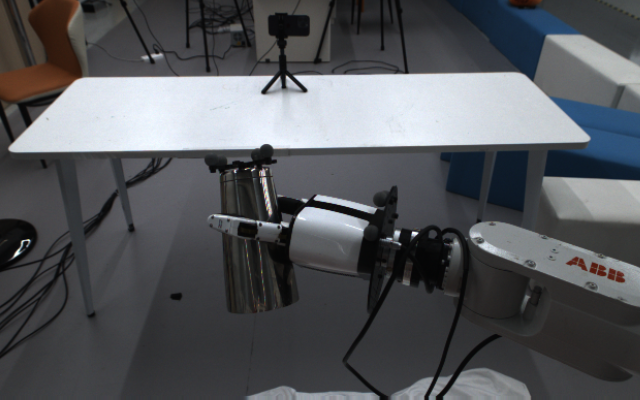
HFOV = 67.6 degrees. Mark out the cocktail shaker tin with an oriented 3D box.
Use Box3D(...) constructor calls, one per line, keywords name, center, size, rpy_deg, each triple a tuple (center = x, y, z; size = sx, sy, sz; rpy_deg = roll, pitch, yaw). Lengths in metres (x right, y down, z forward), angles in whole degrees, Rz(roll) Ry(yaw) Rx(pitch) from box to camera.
Box3D(name="cocktail shaker tin", center=(-0.083, 0.048, 0.612), size=(0.093, 0.170, 0.093), rpy_deg=(-8, 1, 0))
